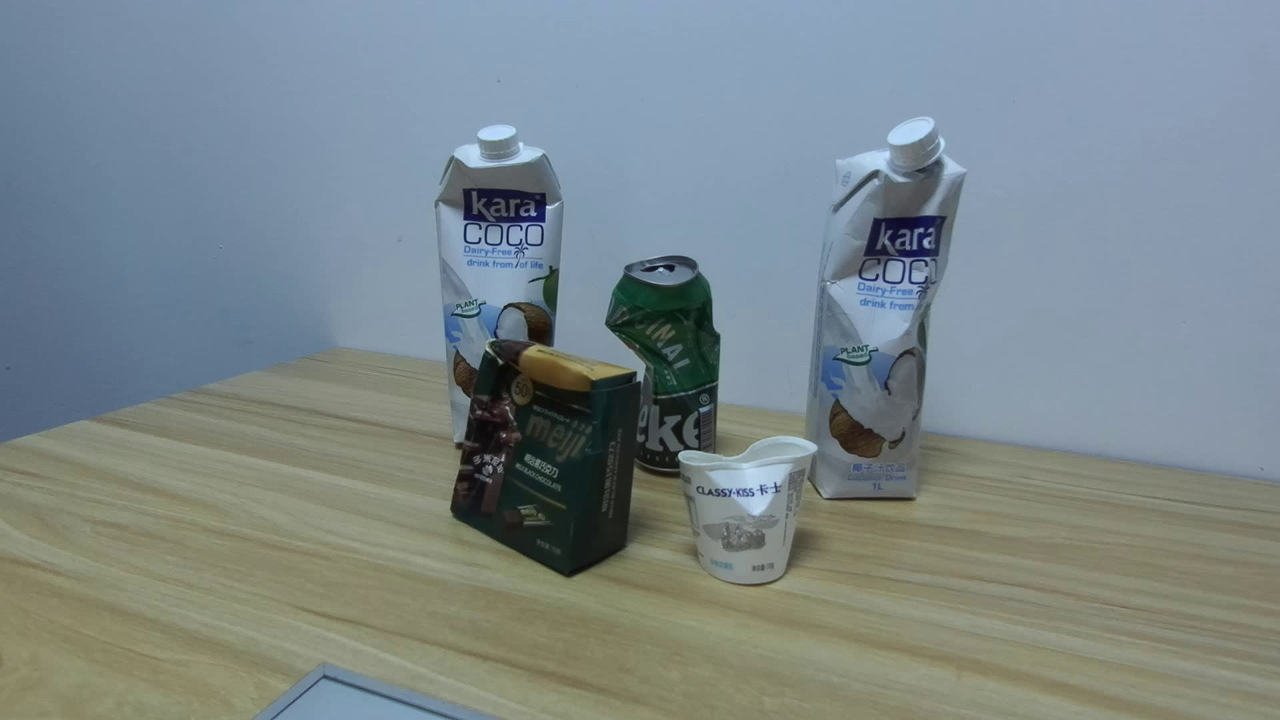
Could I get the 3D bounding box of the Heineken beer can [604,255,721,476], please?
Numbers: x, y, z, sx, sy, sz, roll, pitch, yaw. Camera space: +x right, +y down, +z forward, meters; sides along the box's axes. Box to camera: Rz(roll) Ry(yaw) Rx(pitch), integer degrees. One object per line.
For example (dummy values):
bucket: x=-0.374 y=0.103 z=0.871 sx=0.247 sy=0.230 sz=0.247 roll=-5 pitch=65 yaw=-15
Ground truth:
Heineken beer can: x=0.023 y=0.006 z=0.525 sx=0.067 sy=0.159 sz=0.079 roll=4 pitch=20 yaw=23

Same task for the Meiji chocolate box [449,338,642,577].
Meiji chocolate box: x=-0.057 y=0.055 z=0.432 sx=0.112 sy=0.110 sz=0.058 roll=13 pitch=8 yaw=37

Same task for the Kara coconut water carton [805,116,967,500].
Kara coconut water carton: x=0.163 y=-0.031 z=0.488 sx=0.083 sy=0.255 sz=0.078 roll=4 pitch=17 yaw=7

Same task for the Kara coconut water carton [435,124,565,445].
Kara coconut water carton: x=-0.109 y=-0.058 z=0.564 sx=0.100 sy=0.244 sz=0.071 roll=-1 pitch=14 yaw=-6
